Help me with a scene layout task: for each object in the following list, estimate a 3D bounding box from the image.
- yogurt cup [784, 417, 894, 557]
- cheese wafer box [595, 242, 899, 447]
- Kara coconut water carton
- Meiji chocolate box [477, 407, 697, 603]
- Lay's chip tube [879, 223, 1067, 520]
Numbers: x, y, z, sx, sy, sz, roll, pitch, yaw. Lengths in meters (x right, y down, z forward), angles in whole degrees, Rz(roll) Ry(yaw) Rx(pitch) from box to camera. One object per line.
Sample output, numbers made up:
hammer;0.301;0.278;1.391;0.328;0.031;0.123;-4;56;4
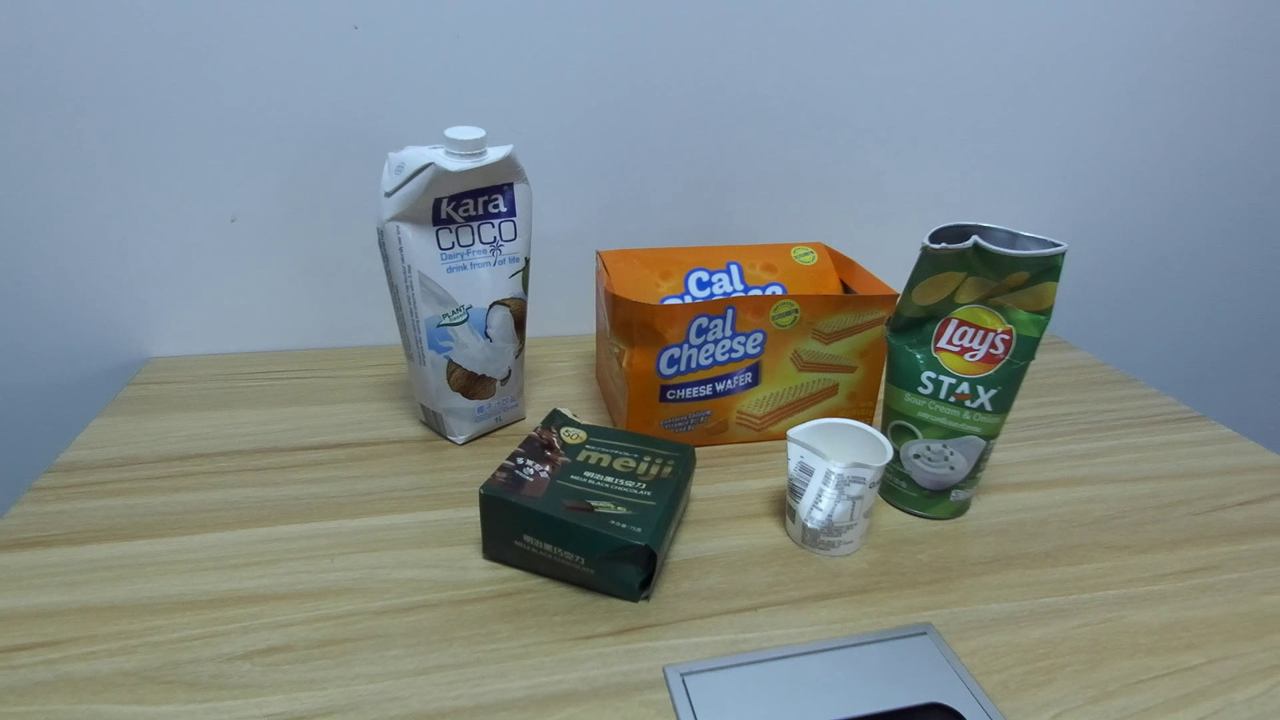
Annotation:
yogurt cup;0.128;0.083;0.467;0.067;0.070;0.067;1;24;0
cheese wafer box;0.077;-0.015;0.608;0.231;0.132;0.152;-3;27;-13
Kara coconut water carton;-0.138;-0.056;0.547;0.115;0.238;0.069;-21;36;-40
Meiji chocolate box;-0.029;0.091;0.461;0.115;0.058;0.123;12;28;15
Lay's chip tube;0.214;0.010;0.484;0.077;0.201;0.069;-4;26;-9
